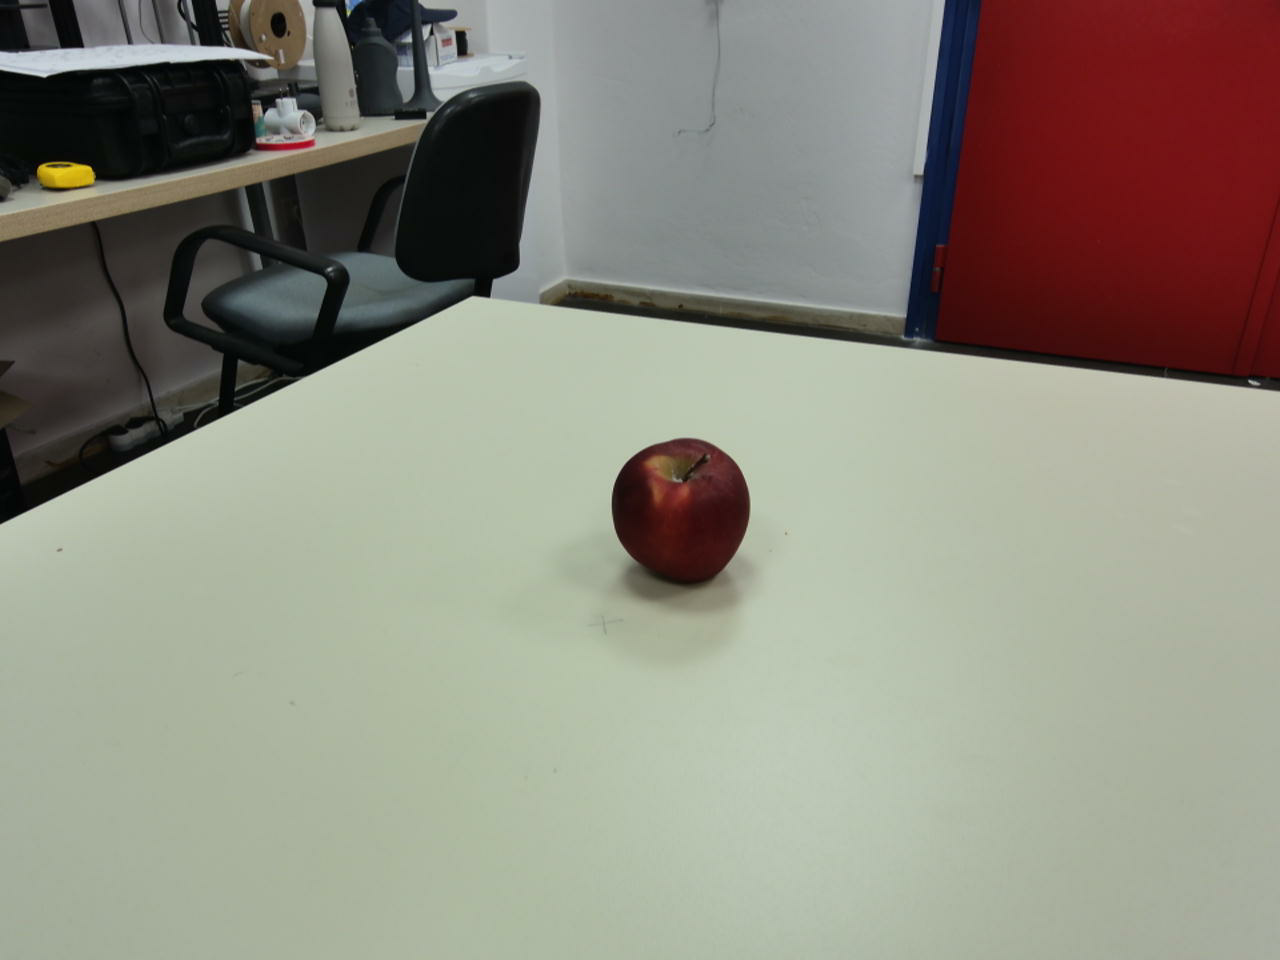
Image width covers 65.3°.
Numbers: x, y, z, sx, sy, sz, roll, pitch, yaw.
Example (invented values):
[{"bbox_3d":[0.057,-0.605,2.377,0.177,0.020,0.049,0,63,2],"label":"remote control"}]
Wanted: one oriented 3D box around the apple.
[{"bbox_3d":[0.021,0.015,0.498,0.070,0.072,0.070,1,25,0],"label":"apple"}]
